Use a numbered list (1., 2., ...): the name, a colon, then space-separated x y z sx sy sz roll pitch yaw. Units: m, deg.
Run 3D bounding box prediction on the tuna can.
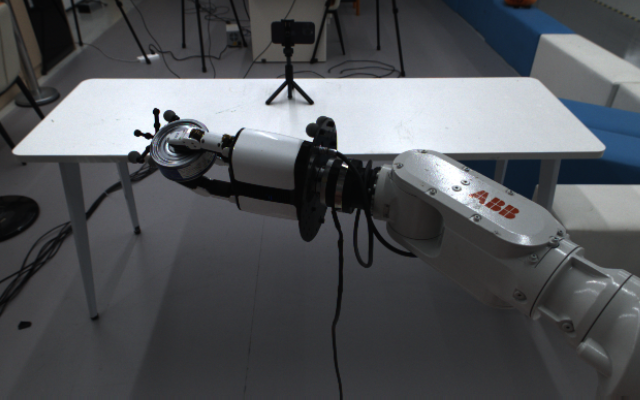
1. tuna can: -0.186 -0.070 0.664 0.085 0.034 0.085 -4 60 6
